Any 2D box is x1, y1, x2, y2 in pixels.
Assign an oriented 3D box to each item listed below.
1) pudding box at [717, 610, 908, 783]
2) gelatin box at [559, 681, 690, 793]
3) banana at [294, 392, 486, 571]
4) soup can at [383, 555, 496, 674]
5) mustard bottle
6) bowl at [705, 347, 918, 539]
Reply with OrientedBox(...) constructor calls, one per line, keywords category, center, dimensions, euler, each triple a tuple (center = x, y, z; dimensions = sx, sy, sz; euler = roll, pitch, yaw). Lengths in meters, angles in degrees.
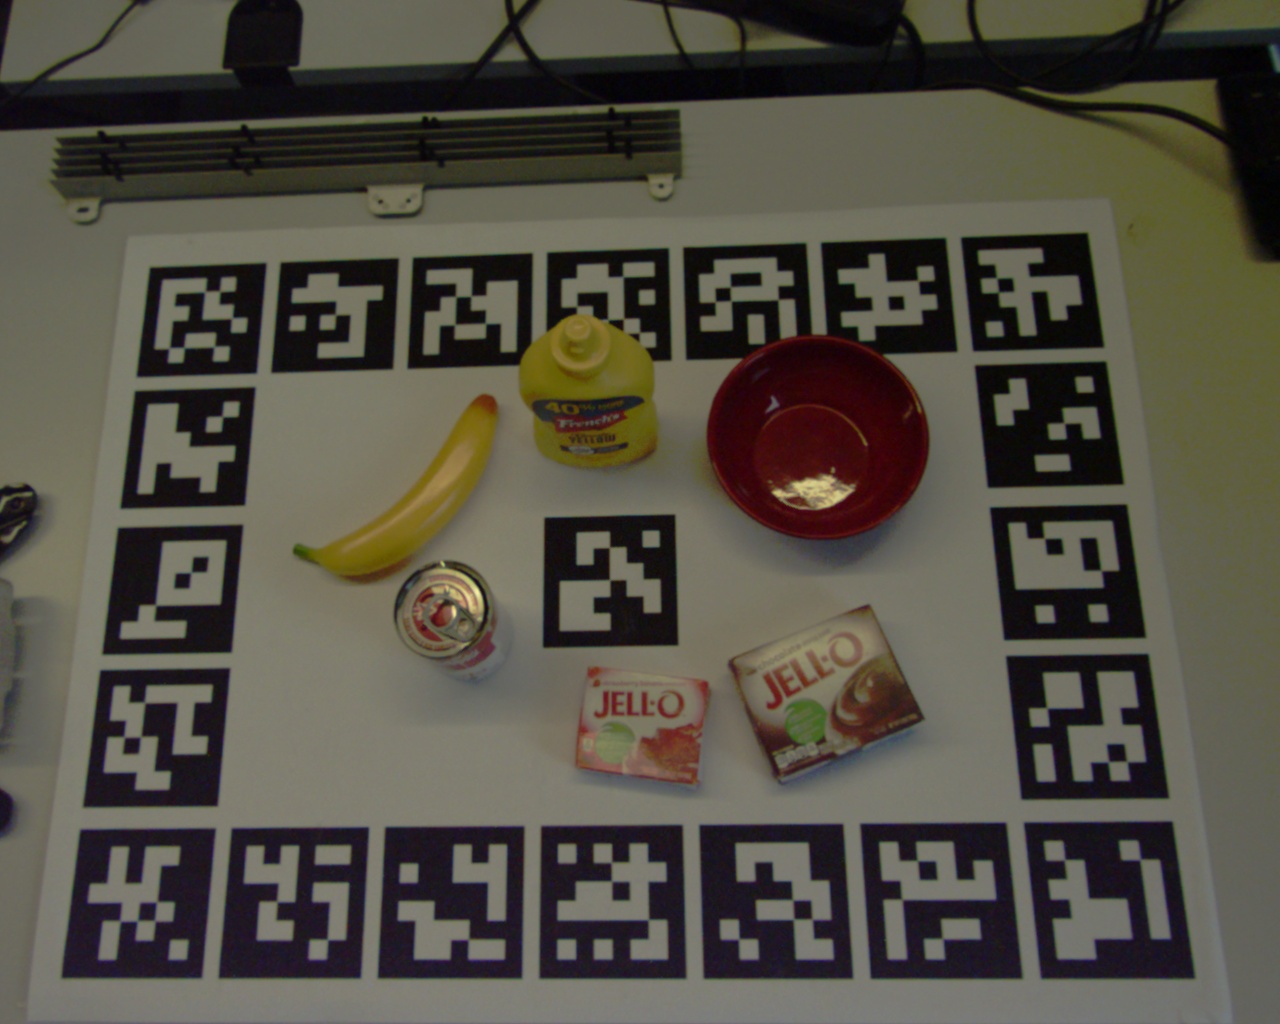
OrientedBox(category="pudding box", center=(0.125, 0.137, 0.844), dimensions=(0.113, 0.038, 0.090), euler=(-24, 78, -4))
OrientedBox(category="gelatin box", center=(-0.011, 0.167, 0.848), dimensions=(0.089, 0.030, 0.073), euler=(6, 76, 6))
OrientedBox(category="banana", center=(-0.185, -0.017, 0.913), dimensions=(0.075, 0.038, 0.197), euler=(39, 78, 24))
OrientedBox(category="soup can", center=(-0.145, 0.078, 0.838), dimensions=(0.068, 0.102, 0.068), euler=(0, 71, 0))
OrientedBox(category="mustard bottle", center=(-0.041, -0.084, 0.833), dimensions=(0.096, 0.191, 0.058), euler=(0, 70, 2))
OrientedBox(category="bowl", center=(0.132, -0.046, 0.895), dimensions=(0.162, 0.055, 0.162), euler=(-2, 72, 4))
